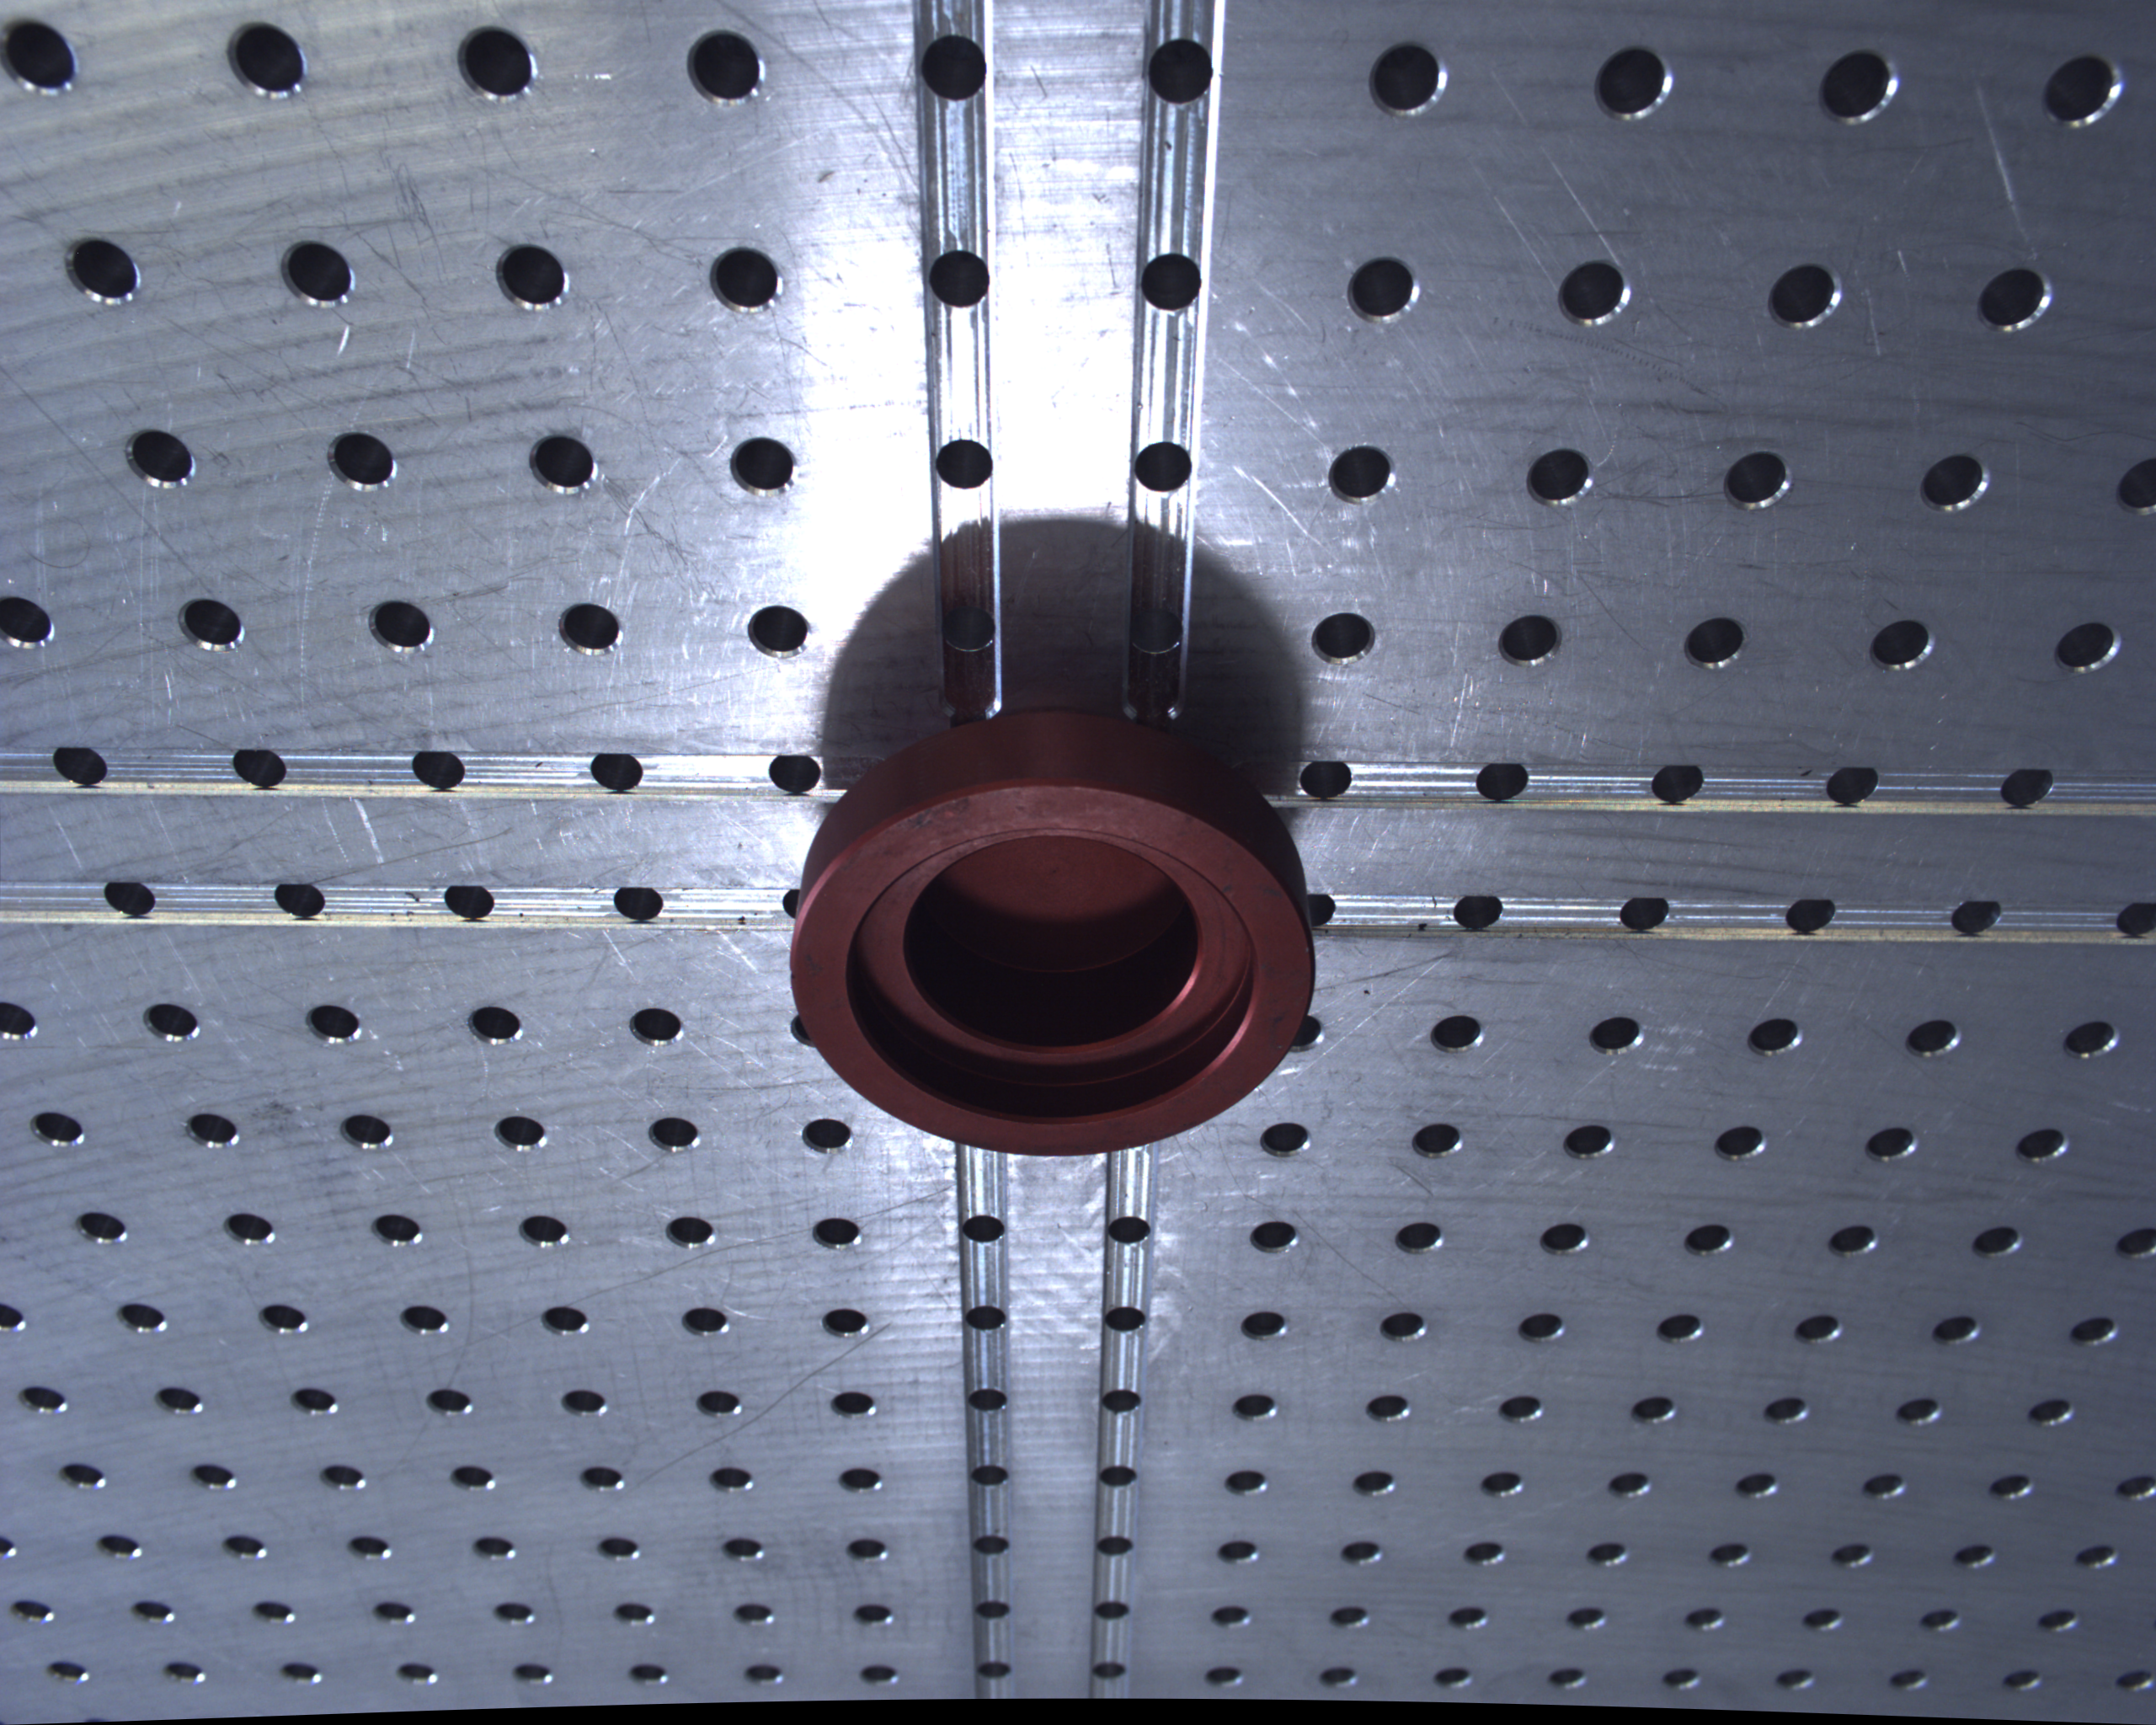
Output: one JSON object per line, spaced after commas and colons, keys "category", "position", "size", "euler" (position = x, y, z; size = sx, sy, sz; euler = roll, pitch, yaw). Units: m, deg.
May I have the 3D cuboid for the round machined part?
{"category": "round machined part", "position": [-0.005, 0.010, 0.408], "size": [0.099, 0.042, 0.097], "euler": [0, 130, 0]}
